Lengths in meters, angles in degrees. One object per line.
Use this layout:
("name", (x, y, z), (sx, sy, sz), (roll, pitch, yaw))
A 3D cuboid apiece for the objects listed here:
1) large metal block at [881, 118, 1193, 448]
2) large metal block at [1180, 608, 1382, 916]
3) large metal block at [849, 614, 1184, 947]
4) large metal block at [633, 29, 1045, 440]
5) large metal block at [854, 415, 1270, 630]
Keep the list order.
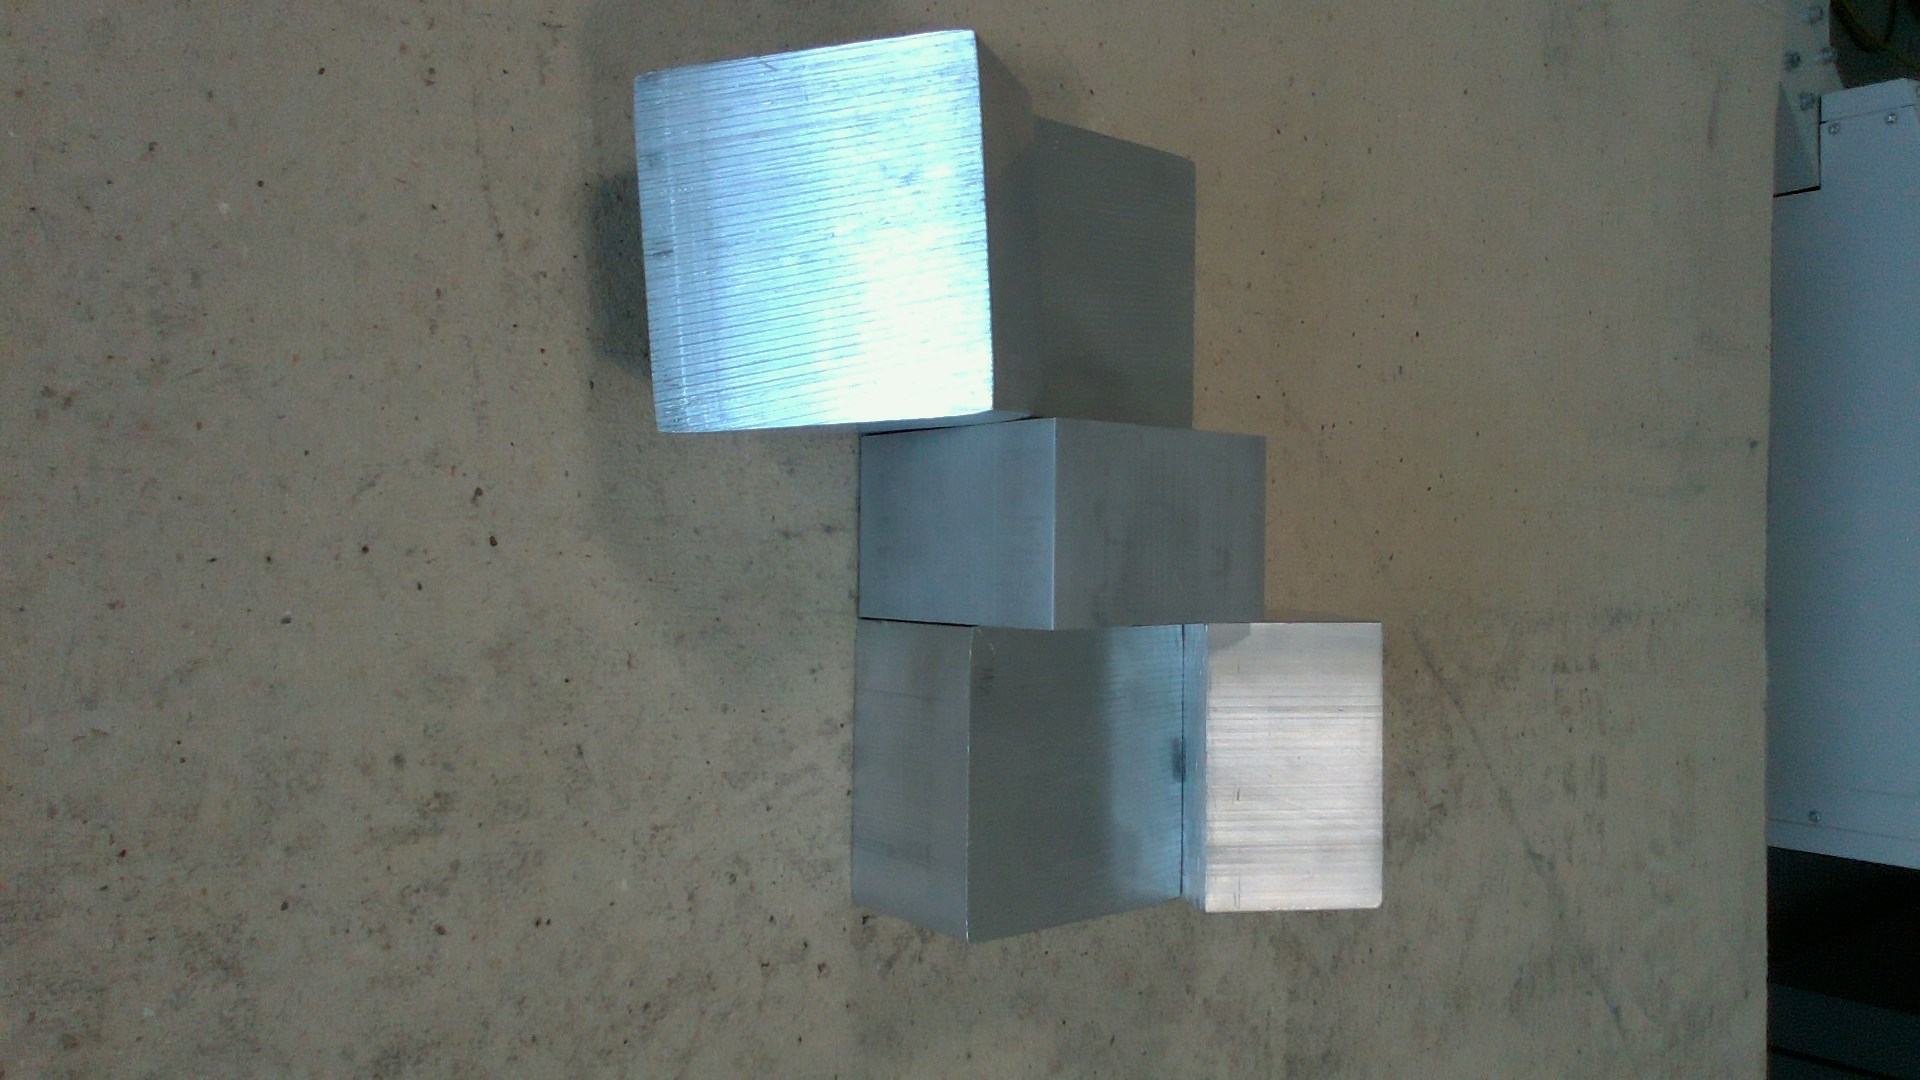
("large metal block", (0.020, -0.069, 0.387), (0.080, 0.050, 0.080), (1, 89, -39))
("large metal block", (0.086, 0.062, 0.416), (0.050, 0.080, 0.080), (0, 90, -8))
("large metal block", (0.017, 0.061, 0.387), (0.080, 0.050, 0.080), (1, 90, -39))
("large metal block", (-0.026, -0.066, 0.322), (0.050, 0.080, 0.080), (-10, 98, -74))
("large metal block", (0.027, -0.004, 0.376), (0.080, 0.080, 0.050), (1, 90, -40))
